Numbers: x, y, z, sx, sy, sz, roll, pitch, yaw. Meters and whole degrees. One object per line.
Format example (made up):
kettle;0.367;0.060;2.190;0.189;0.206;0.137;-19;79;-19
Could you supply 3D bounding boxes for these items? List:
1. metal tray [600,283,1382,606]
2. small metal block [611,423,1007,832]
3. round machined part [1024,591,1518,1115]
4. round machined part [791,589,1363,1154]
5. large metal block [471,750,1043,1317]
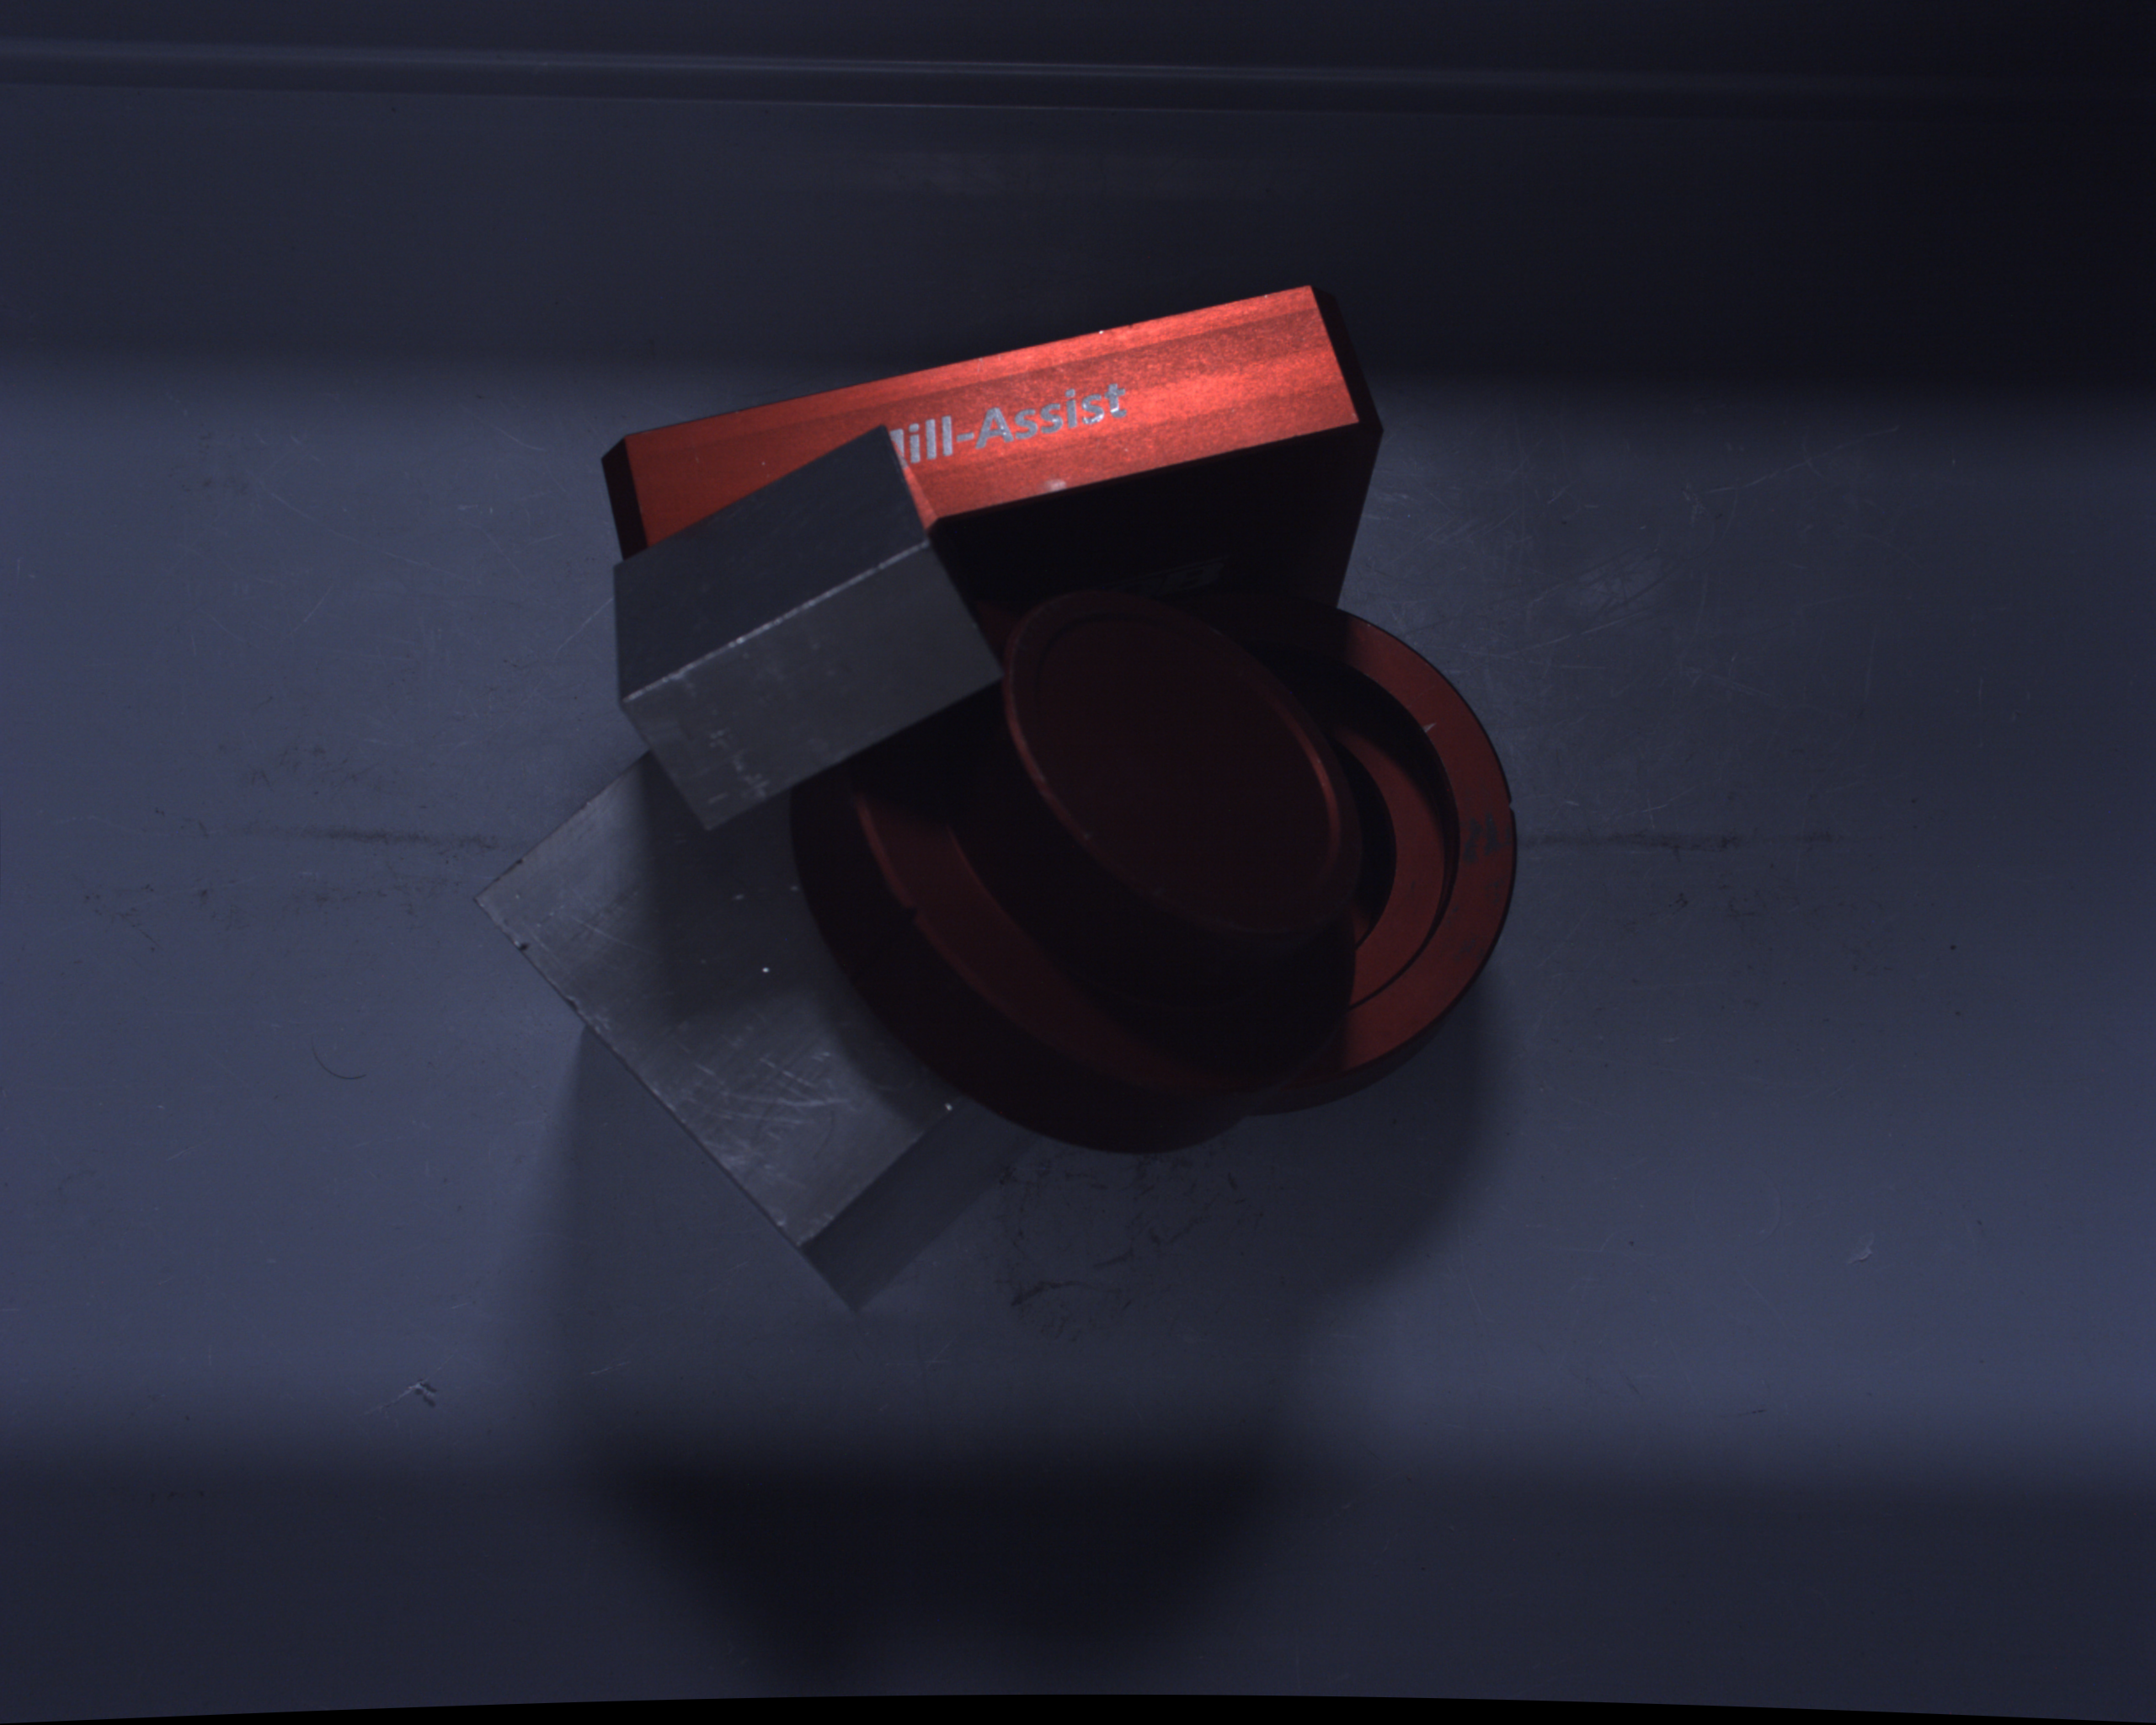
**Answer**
metal tray;-0.015;-0.059;0.394;0.131;0.090;0.030;-14;72;-6
small metal block;-0.043;-0.038;0.323;0.050;0.025;0.050;-27;33;3
round machined part;0.031;0.001;0.400;0.099;0.042;0.098;0;70;-1
round machined part;0.007;-0.005;0.340;0.099;0.042;0.098;24;43;-24
large metal block;-0.051;0.029;0.368;0.050;0.080;0.080;-42;76;-14
